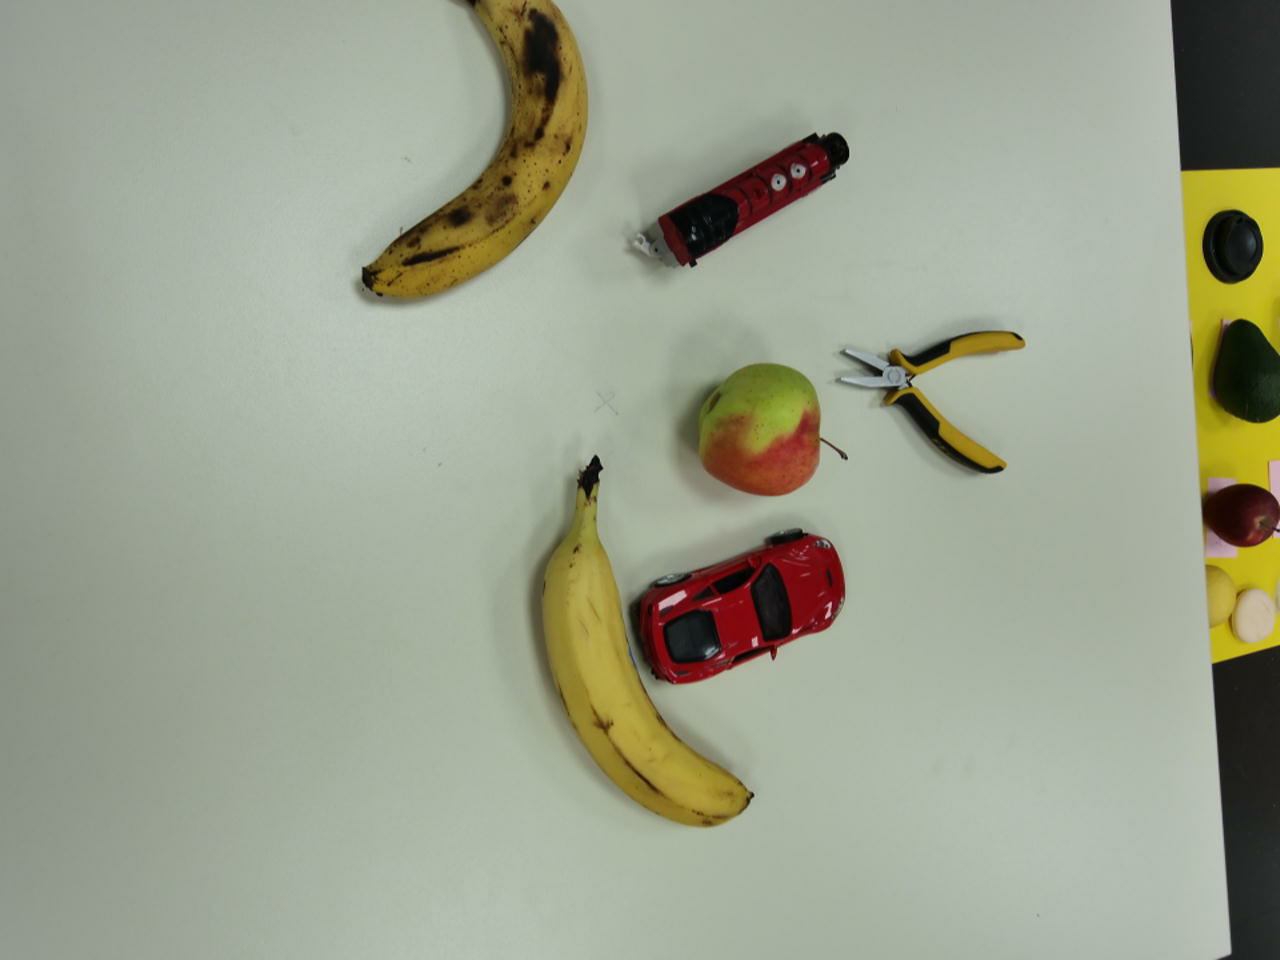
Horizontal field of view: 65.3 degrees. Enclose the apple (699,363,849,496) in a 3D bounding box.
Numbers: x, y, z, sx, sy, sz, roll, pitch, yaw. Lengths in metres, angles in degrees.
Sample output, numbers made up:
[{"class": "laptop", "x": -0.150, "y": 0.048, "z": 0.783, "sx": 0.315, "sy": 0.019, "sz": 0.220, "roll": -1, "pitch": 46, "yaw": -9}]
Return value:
[{"class": "apple", "x": 0.068, "y": -0.027, "z": 0.562, "sx": 0.075, "sy": 0.074, "sz": 0.075, "roll": -27, "pitch": 100, "yaw": -20}]
